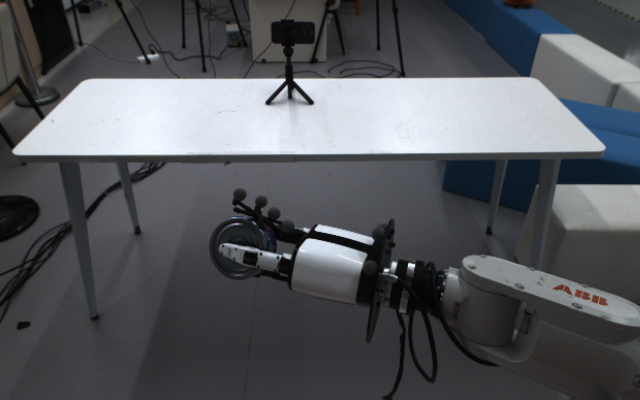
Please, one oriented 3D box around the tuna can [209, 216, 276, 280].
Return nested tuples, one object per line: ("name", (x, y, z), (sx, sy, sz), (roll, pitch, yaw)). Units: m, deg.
("tuna can", (-0.101, 0.070, 0.647), (0.085, 0.085, 0.034), (12, 4, 14))
